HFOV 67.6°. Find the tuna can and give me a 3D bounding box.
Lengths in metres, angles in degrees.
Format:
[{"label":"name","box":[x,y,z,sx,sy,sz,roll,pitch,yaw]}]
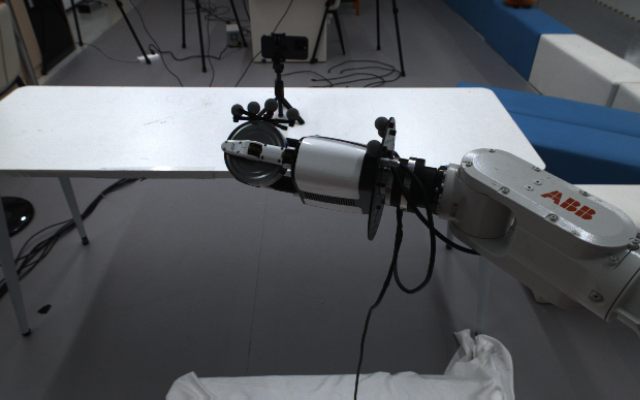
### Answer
[{"label":"tuna can","box":[-0.083,-0.062,0.653,0.085,0.085,0.034,11,-5,13]}]
